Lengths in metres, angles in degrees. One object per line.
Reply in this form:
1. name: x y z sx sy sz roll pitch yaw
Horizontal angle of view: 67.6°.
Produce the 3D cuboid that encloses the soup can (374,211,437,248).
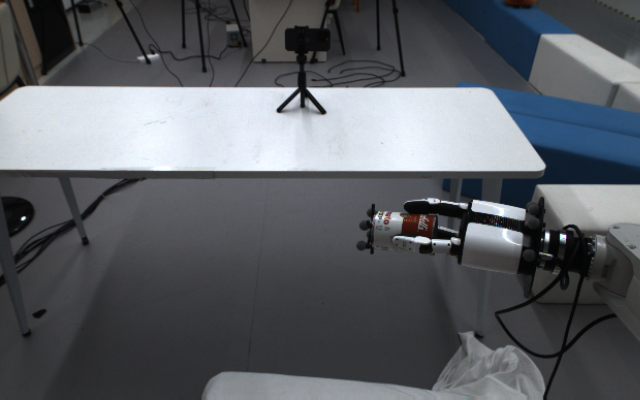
1. soup can: 0.145 0.055 0.813 0.101 0.067 0.067 4 34 18
